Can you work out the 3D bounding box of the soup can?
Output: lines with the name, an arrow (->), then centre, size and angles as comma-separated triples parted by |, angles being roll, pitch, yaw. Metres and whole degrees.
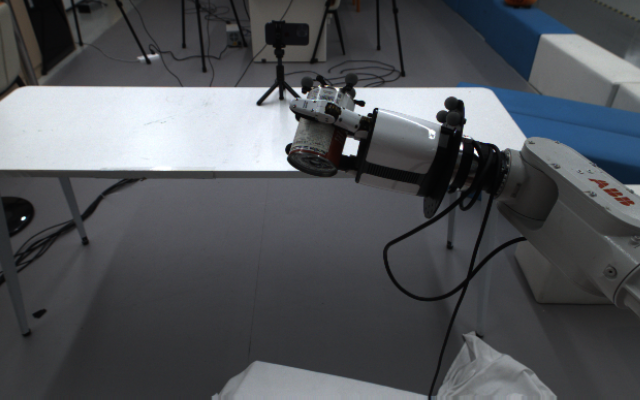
soup can -> 0.003, -0.090, 0.639 | 0.067, 0.067, 0.101 | 11, 72, 13
